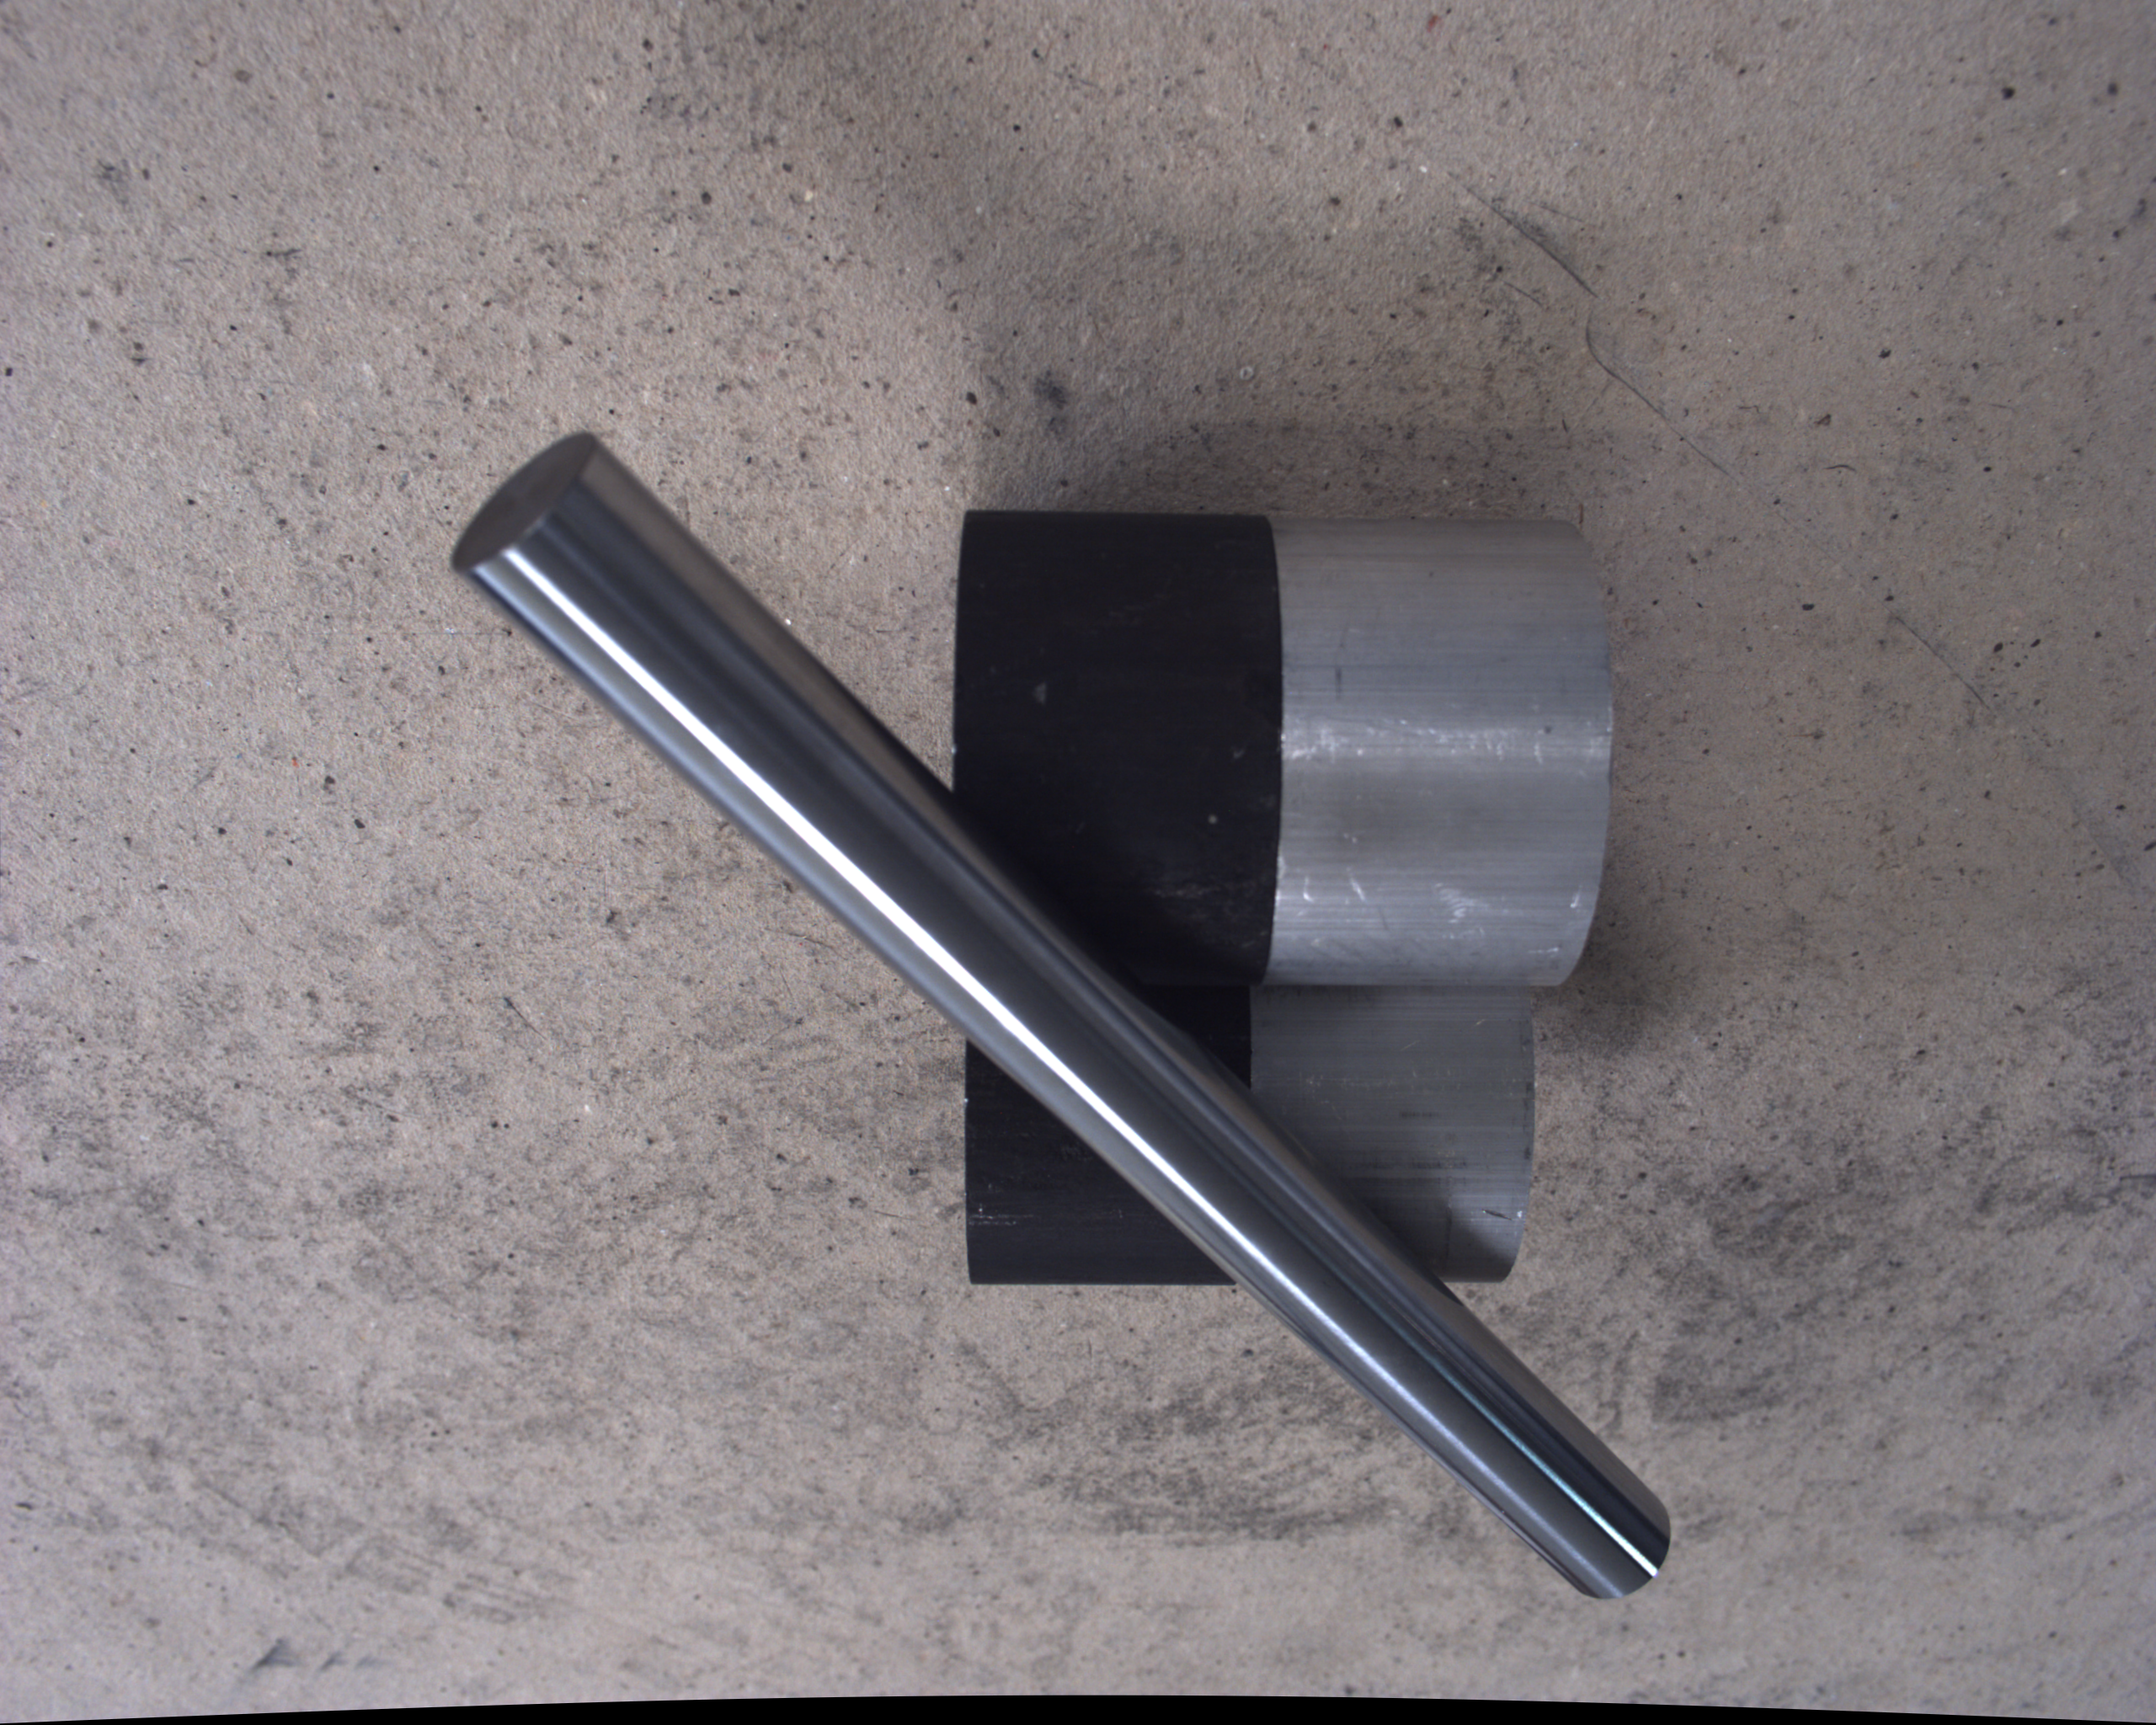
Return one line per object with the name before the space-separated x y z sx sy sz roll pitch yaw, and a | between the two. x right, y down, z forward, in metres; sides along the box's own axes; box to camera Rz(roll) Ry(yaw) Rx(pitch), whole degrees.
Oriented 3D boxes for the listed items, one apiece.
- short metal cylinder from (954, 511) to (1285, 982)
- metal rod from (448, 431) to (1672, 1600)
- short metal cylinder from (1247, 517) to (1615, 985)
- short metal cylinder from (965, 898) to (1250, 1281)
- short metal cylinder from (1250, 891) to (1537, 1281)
short metal cylinder | 0.006 -0.020 0.356 0.050 0.080 0.079 1 130 -1
metal rod | 0.019 0.046 0.343 0.025 0.025 0.300 -30 125 22
short metal cylinder | 0.056 -0.019 0.357 0.050 0.080 0.079 1 130 -1
short metal cylinder | 0.005 0.042 0.408 0.050 0.080 0.079 1 130 -1
short metal cylinder | 0.056 0.042 0.409 0.050 0.080 0.079 1 130 -1
